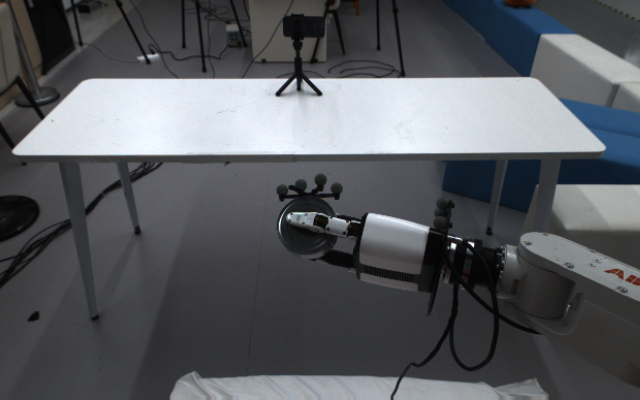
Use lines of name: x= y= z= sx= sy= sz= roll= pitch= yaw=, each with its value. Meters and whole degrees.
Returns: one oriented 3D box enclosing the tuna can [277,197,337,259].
tuna can: x=-0.014 y=0.044 z=0.679 sx=0.085 sy=0.034 sz=0.085 roll=-2 pitch=69 yaw=6
